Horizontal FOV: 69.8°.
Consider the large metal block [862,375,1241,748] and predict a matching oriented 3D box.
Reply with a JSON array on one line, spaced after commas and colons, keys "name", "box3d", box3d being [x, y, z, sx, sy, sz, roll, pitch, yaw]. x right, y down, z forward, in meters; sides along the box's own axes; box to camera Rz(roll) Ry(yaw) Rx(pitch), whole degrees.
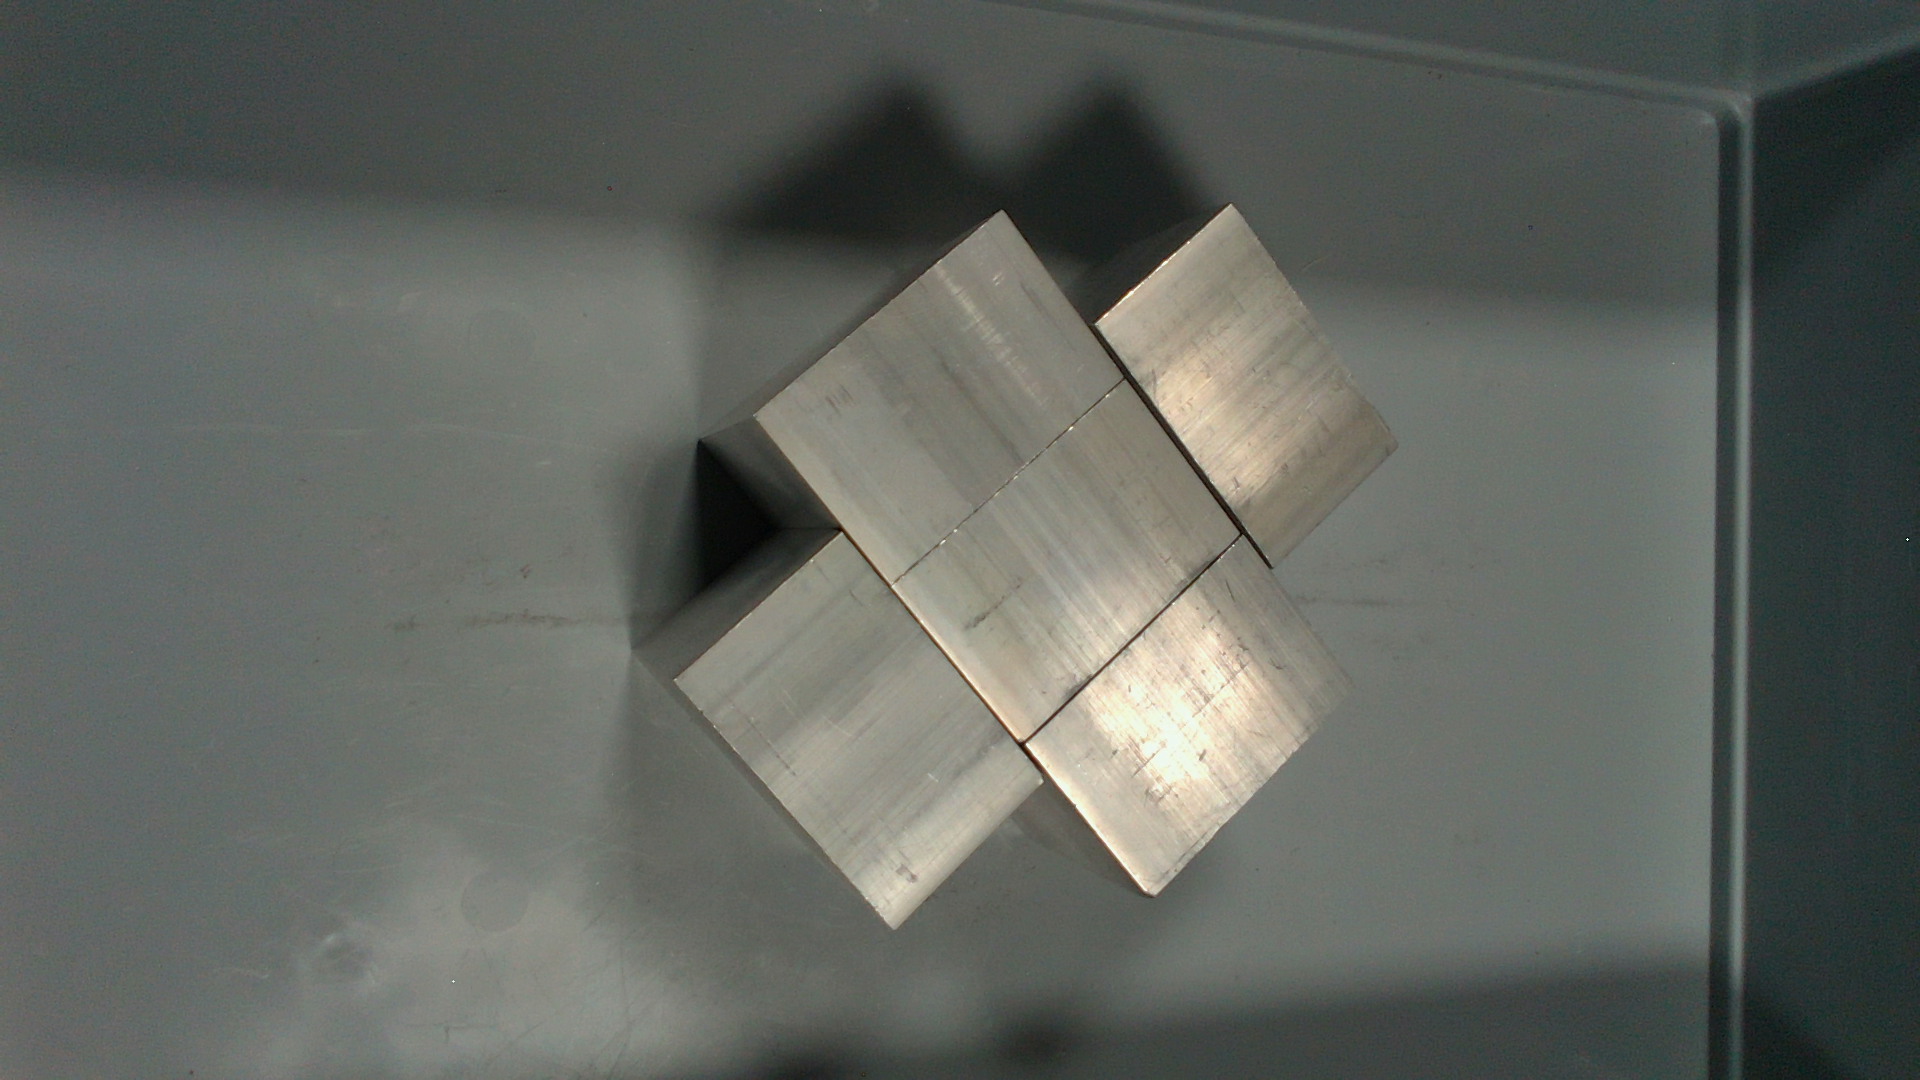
[{"name": "large metal block", "box3d": [0.014, 0.004, 0.369, 0.080, 0.080, 0.050, -42, 103, -15]}]

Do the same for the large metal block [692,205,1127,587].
[{"name": "large metal block", "box3d": [-0.017, -0.034, 0.357, 0.080, 0.080, 0.050, -42, 103, -15]}]

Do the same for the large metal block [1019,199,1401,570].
[{"name": "large metal block", "box3d": [0.061, -0.039, 0.386, 0.050, 0.080, 0.080, -43, 103, -15]}]

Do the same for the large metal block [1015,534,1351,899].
[{"name": "large metal block", "box3d": [0.045, 0.043, 0.381, 0.080, 0.080, 0.050, -42, 103, -15]}]

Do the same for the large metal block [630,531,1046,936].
[{"name": "large metal block", "box3d": [-0.035, 0.044, 0.351, 0.050, 0.080, 0.080, -43, 103, -15]}]
